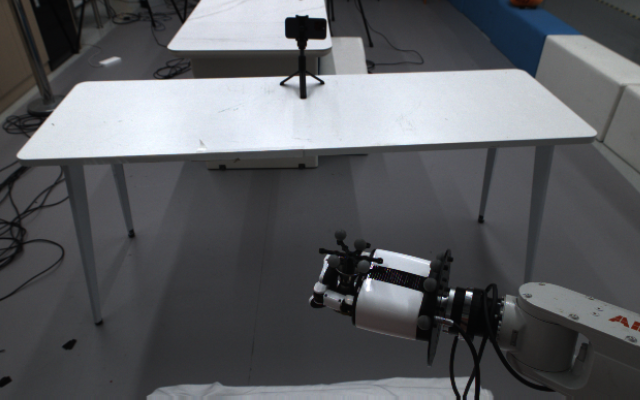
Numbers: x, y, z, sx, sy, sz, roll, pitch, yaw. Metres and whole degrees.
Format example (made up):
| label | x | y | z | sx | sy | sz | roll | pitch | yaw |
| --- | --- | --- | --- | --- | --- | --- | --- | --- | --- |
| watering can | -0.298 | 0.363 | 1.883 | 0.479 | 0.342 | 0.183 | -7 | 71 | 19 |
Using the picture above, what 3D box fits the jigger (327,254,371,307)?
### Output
| label | x | y | z | sx | sy | sz | roll | pitch | yaw |
| --- | --- | --- | --- | --- | --- | --- | --- | --- | --- |
| jigger | 0.039 | 0.123 | 0.691 | 0.043 | 0.071 | 0.043 | 6 | 26 | -3 |
